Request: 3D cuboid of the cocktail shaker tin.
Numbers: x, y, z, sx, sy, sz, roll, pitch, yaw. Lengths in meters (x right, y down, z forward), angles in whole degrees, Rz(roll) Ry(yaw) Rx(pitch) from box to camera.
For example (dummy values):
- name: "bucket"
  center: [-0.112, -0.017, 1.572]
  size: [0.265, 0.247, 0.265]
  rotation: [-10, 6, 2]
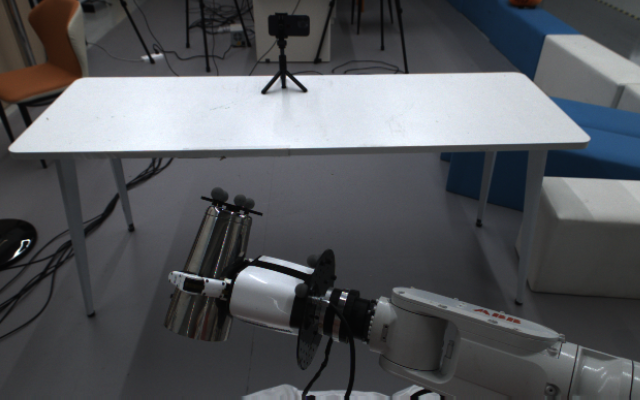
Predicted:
- name: "cocktail shaker tin"
  center: [-0.148, 0.099, 0.674]
  size: [0.093, 0.170, 0.093]
  rotation: [15, -3, 1]
